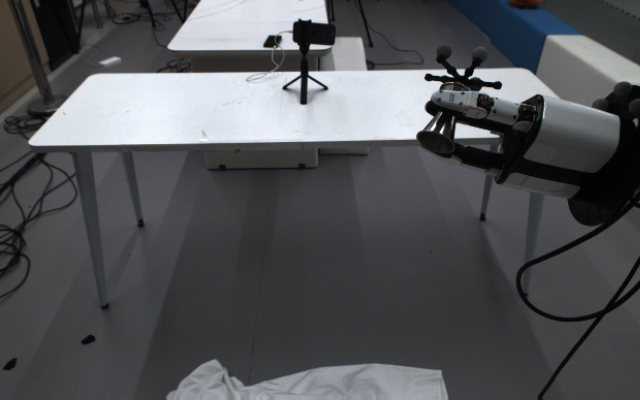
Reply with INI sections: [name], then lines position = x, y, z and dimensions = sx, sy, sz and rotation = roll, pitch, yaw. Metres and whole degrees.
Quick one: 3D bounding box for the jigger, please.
[jigger]
position = 0.139, -0.096, 0.539
dimensions = 0.043, 0.043, 0.071
rotation = 20, 72, 24
